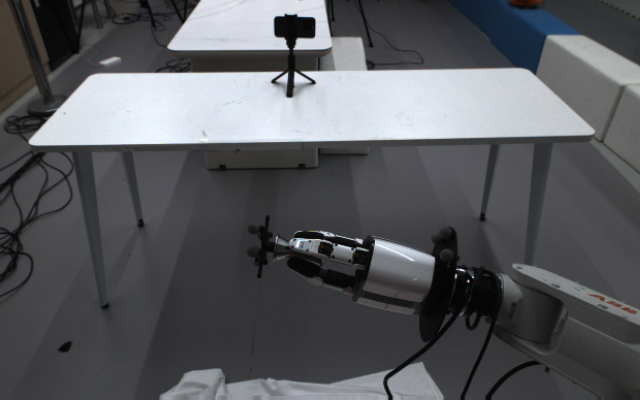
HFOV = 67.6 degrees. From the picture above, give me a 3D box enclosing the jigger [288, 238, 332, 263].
[{"bbox_3d":[-0.021,0.066,0.679,0.071,0.043,0.043,6,35,2],"label":"jigger"}]
